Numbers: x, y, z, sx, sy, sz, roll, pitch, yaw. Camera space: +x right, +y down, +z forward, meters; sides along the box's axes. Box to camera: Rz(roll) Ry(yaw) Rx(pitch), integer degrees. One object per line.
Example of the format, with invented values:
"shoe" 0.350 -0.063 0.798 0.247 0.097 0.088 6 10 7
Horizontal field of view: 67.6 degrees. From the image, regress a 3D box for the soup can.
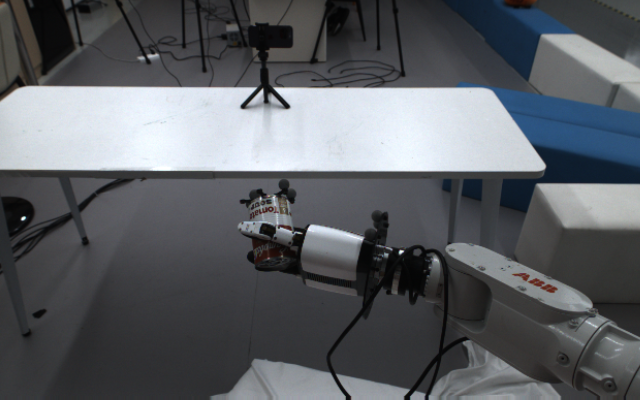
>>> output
"soup can" -0.071 0.053 0.743 0.067 0.067 0.101 -6 67 -12
